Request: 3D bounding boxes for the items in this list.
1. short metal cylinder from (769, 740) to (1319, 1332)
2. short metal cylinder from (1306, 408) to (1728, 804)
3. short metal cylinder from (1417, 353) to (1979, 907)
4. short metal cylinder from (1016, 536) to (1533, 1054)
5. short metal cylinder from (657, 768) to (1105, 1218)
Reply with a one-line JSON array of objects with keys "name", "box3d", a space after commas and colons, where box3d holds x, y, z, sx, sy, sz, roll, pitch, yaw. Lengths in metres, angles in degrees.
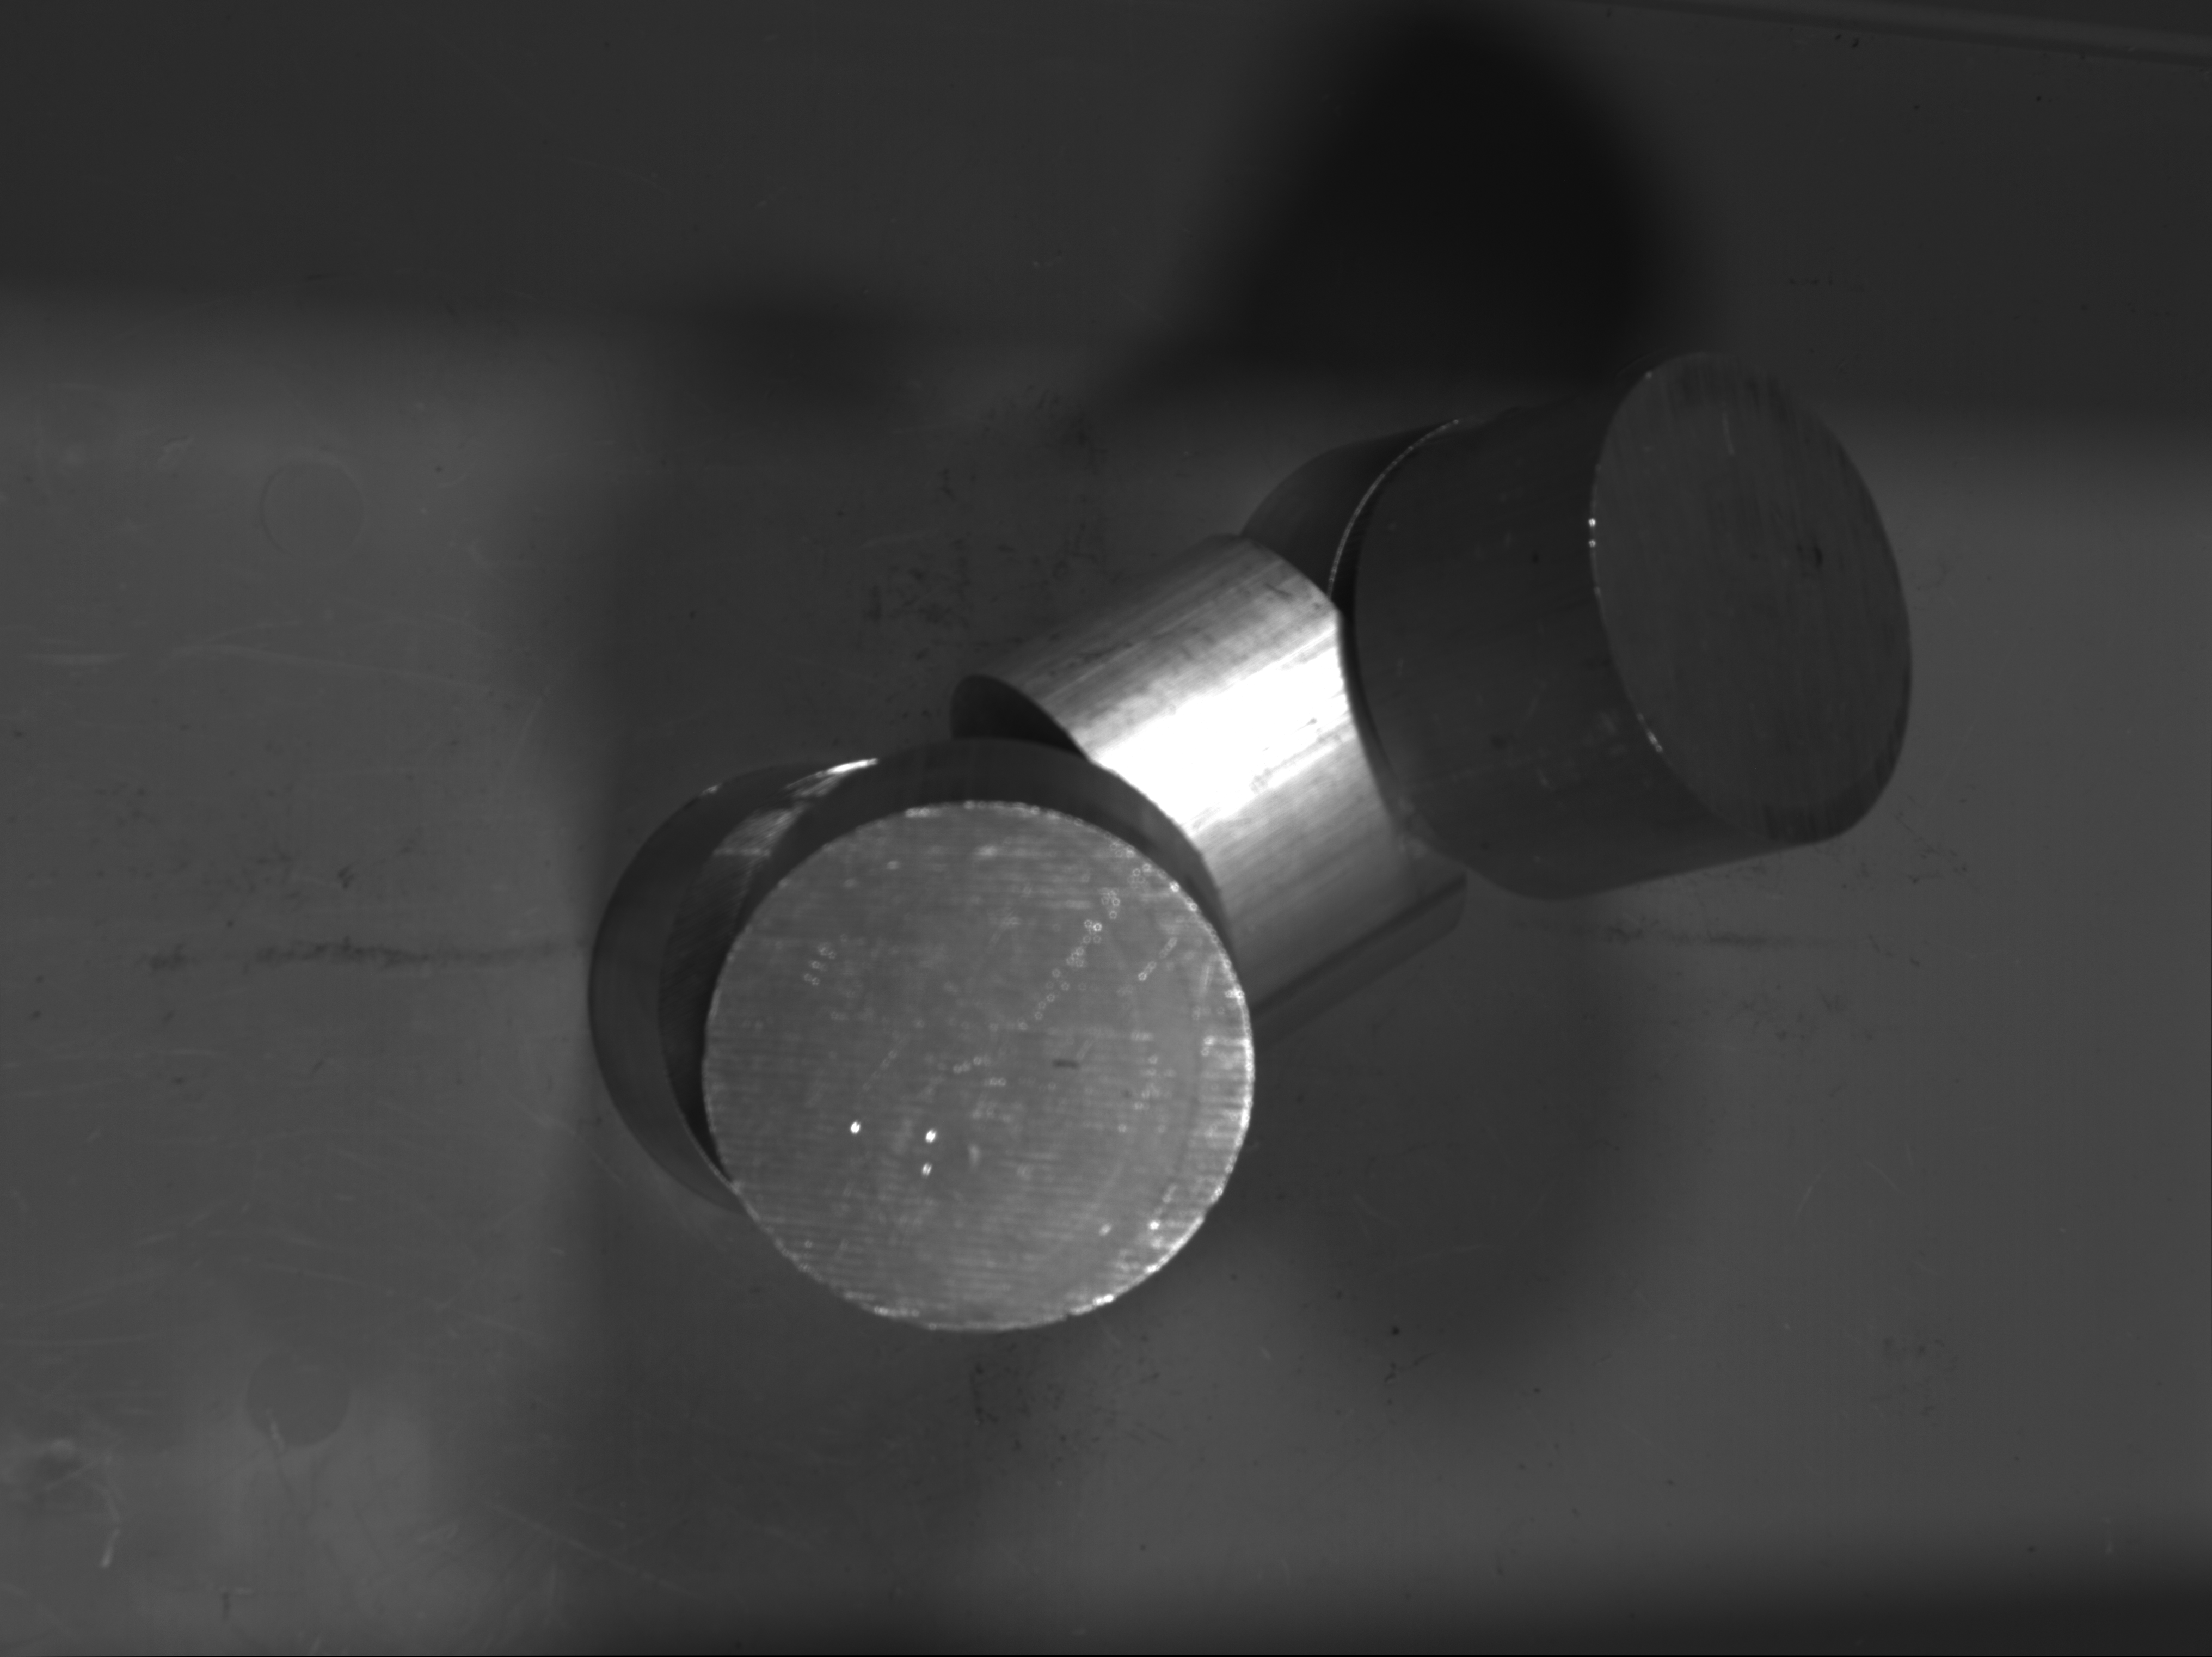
[{"name": "short metal cylinder", "box3d": [-0.009, 0.030, 0.557, 0.080, 0.050, 0.080, 0, 102, 0]}, {"name": "short metal cylinder", "box3d": [0.077, -0.033, 0.657, 0.080, 0.050, 0.080, 0, 90, -20]}, {"name": "short metal cylinder", "box3d": [0.097, -0.031, 0.595, 0.080, 0.050, 0.080, 13, 70, -39]}, {"name": "short metal cylinder", "box3d": [0.028, -0.003, 0.623, 0.050, 0.080, 0.080, -31, 100, -17]}, {"name": "short metal cylinder", "box3d": [-0.031, 0.030, 0.617, 0.080, 0.050, 0.080, 0, 90, -20]}]
